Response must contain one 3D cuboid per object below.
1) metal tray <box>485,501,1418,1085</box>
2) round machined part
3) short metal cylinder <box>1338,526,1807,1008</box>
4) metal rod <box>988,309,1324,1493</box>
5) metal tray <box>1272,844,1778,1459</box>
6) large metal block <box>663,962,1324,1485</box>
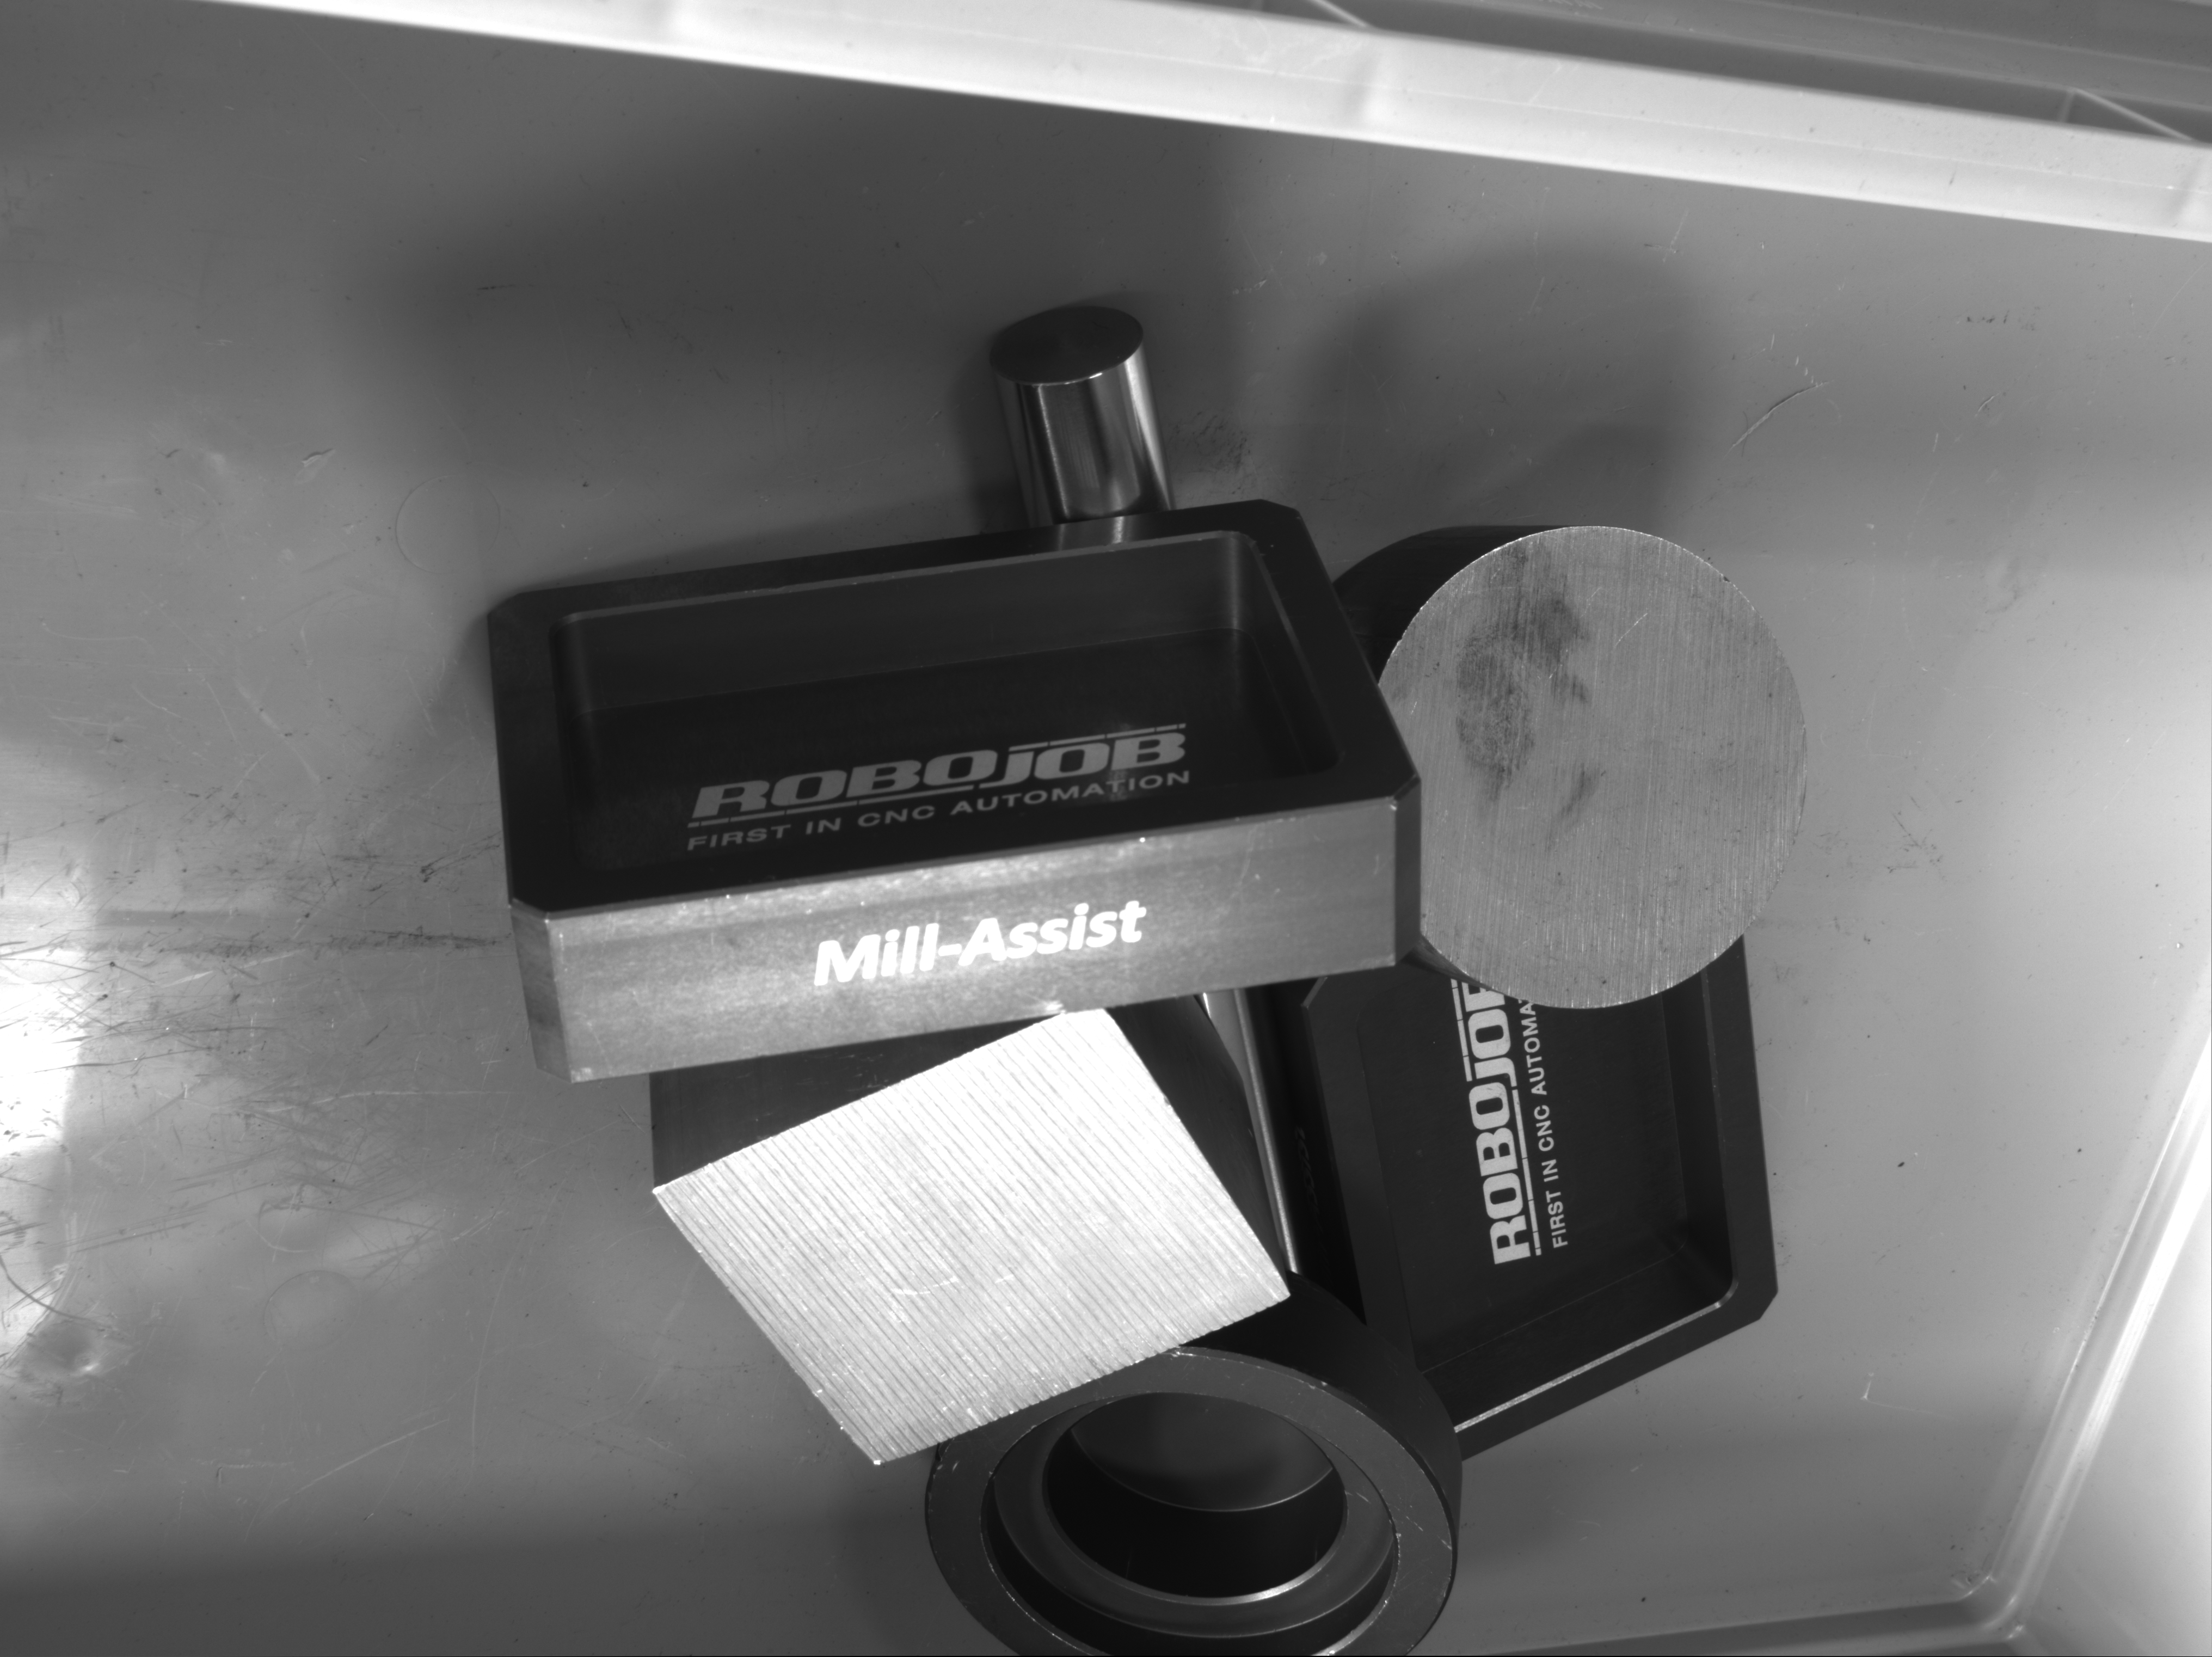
[{"bbox_3d":[-0.026,-0.008,0.557,0.130,0.090,0.030,-8,125,-7],"label":"metal tray"},{"bbox_3d":[0.018,0.118,0.688,0.098,0.042,0.098,4,127,6],"label":"round machined part"},{"bbox_3d":[0.073,-0.012,0.633,0.080,0.050,0.080,-1,95,-17],"label":"short metal cylinder"},{"bbox_3d":[0.020,0.043,0.672,0.025,0.025,0.300,-23,127,-14],"label":"metal rod"},{"bbox_3d":[0.080,0.056,0.710,0.090,0.030,0.130,-23,127,-15],"label":"metal tray"},{"bbox_3d":[-0.020,0.054,0.619,0.080,0.050,0.080,-25,130,10],"label":"large metal block"}]
